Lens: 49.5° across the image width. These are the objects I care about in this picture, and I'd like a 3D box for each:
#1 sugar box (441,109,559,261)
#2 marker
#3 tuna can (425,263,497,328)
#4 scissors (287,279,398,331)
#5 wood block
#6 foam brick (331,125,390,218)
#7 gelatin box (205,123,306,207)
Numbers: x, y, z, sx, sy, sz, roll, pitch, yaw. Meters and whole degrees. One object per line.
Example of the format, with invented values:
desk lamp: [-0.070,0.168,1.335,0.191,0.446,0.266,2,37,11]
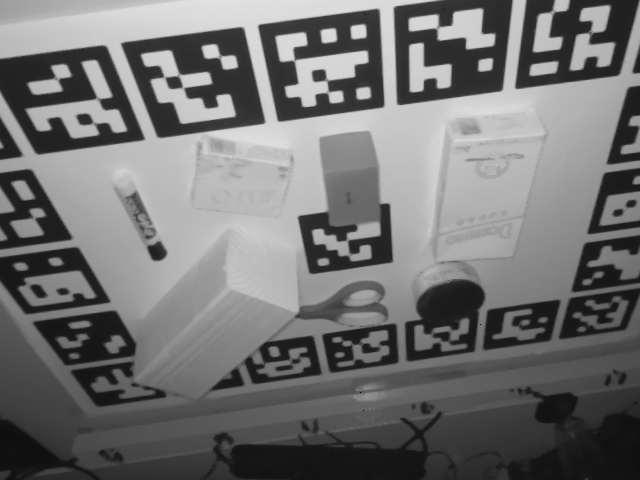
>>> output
sugar box: [0.184,-0.054,0.735,0.093,0.045,0.175,-3,134,-3]
marker: [-0.170,-0.034,0.718,0.020,0.020,0.120,-6,132,-1]
tuna can: [0.173,0.068,0.851,0.086,0.034,0.085,-4,133,-4]
scissors: [0.000,0.086,0.861,0.204,0.016,0.087,-3,133,-8]
wood block: [-0.119,0.078,0.790,0.091,0.091,0.203,28,125,-30]
foam brick: [0.040,-0.068,0.689,0.053,0.052,0.077,-6,133,-2]
gelatin box: [-0.065,-0.073,0.691,0.090,0.030,0.072,7,131,-14]
